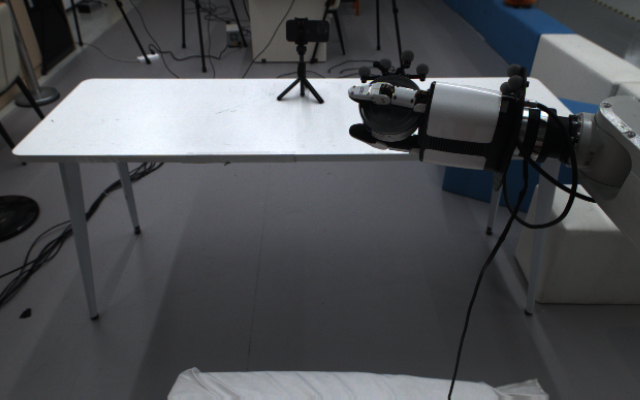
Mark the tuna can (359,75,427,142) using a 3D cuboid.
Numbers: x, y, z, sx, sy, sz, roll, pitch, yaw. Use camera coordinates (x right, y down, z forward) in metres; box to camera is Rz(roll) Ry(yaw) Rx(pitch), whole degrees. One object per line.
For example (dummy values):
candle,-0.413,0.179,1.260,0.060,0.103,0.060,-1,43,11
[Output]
tuna can,0.099,-0.119,0.654,0.085,0.034,0.085,-3,73,10
